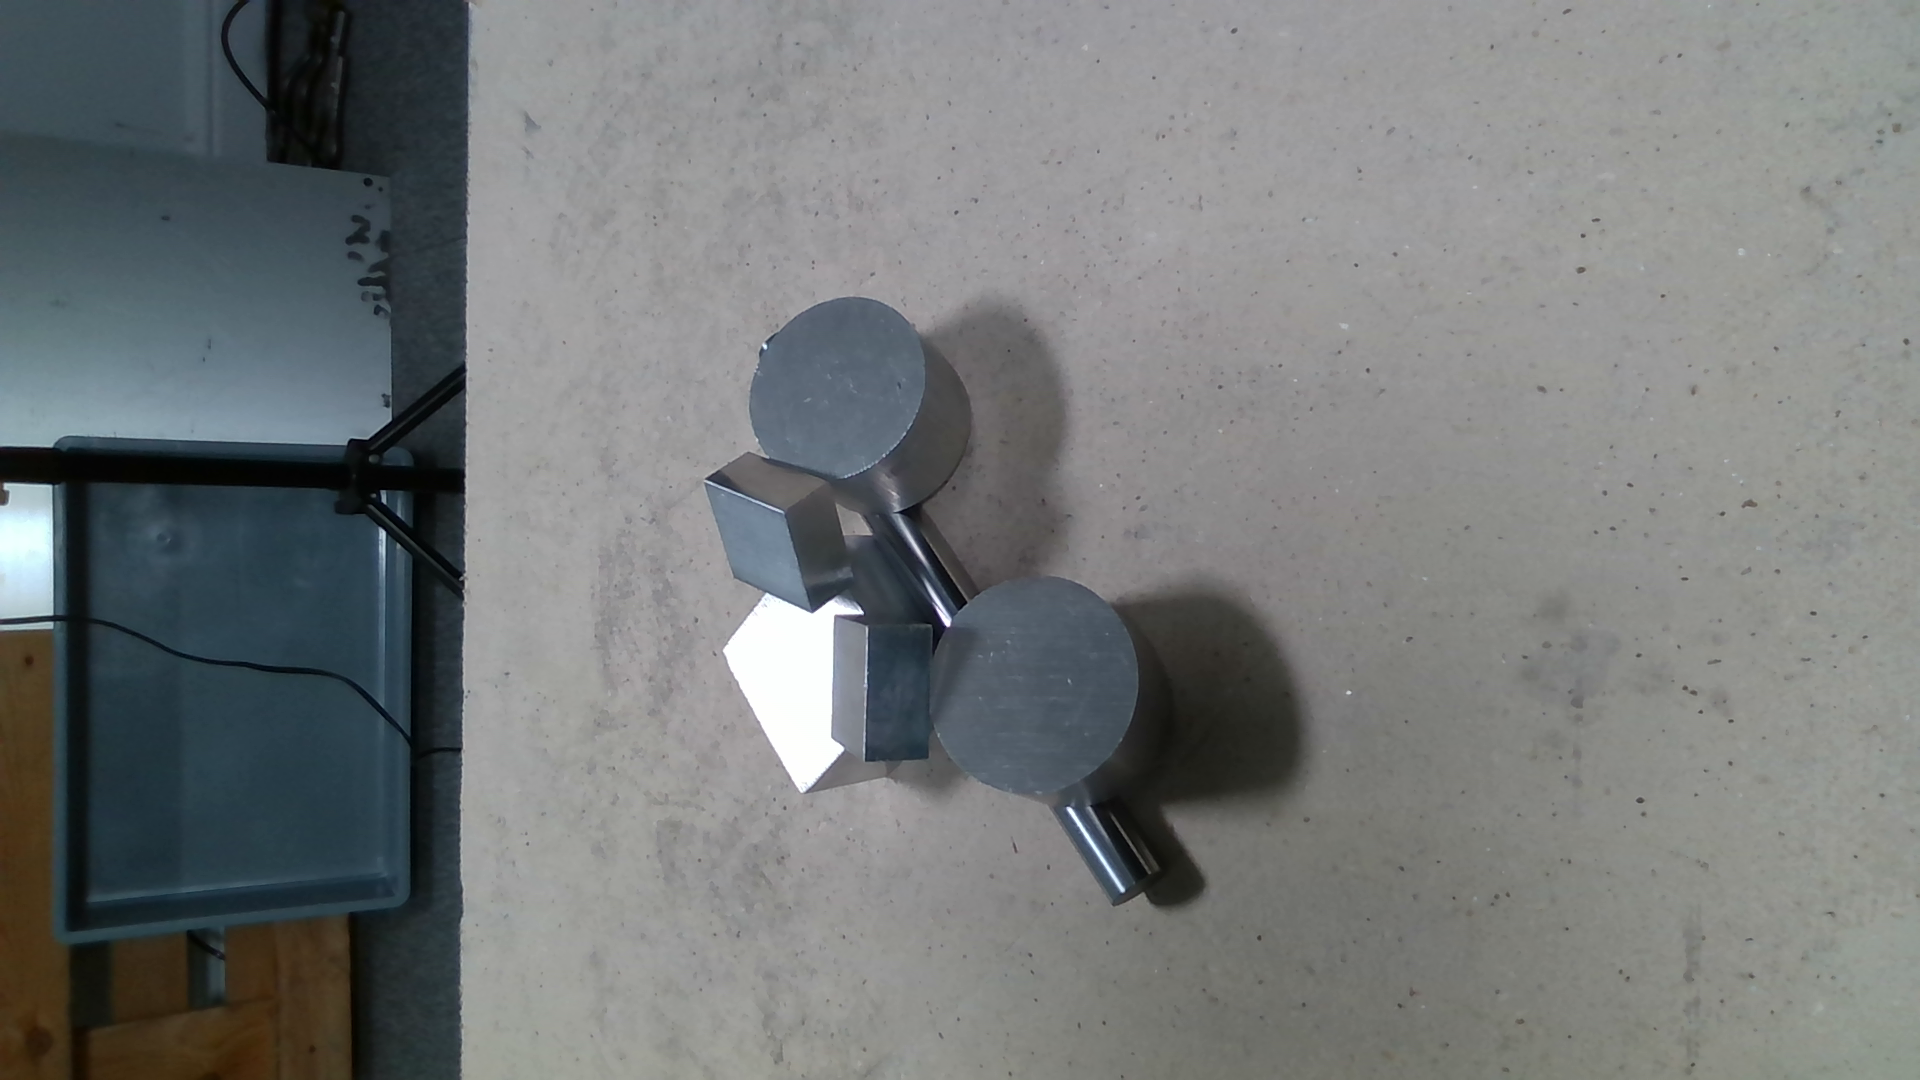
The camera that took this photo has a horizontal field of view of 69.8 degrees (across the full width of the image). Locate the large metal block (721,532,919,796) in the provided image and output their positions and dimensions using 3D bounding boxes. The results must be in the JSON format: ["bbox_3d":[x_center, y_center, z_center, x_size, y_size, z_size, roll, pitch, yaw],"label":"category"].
[{"bbox_3d":[-0.049,0.053,0.605,0.080,0.050,0.080,-49,61,29],"label":"large metal block"}]

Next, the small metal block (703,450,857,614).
[{"bbox_3d":[-0.073,-0.004,0.563,0.050,0.025,0.050,21,136,38],"label":"small metal block"}]

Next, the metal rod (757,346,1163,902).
[{"bbox_3d":[-0.009,0.020,0.589,0.025,0.025,0.299,-49,61,29],"label":"metal rod"}]

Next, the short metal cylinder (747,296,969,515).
[{"bbox_3d":[-0.042,-0.056,0.583,0.080,0.050,0.080,-6,72,20],"label":"short metal cylinder"}]

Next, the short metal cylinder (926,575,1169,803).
[{"bbox_3d":[0.034,0.058,0.519,0.080,0.050,0.080,-6,72,20],"label":"short metal cylinder"}]

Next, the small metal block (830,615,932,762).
[{"bbox_3d":[-0.031,0.055,0.527,0.050,0.025,0.050,-174,85,-71],"label":"small metal block"}]
